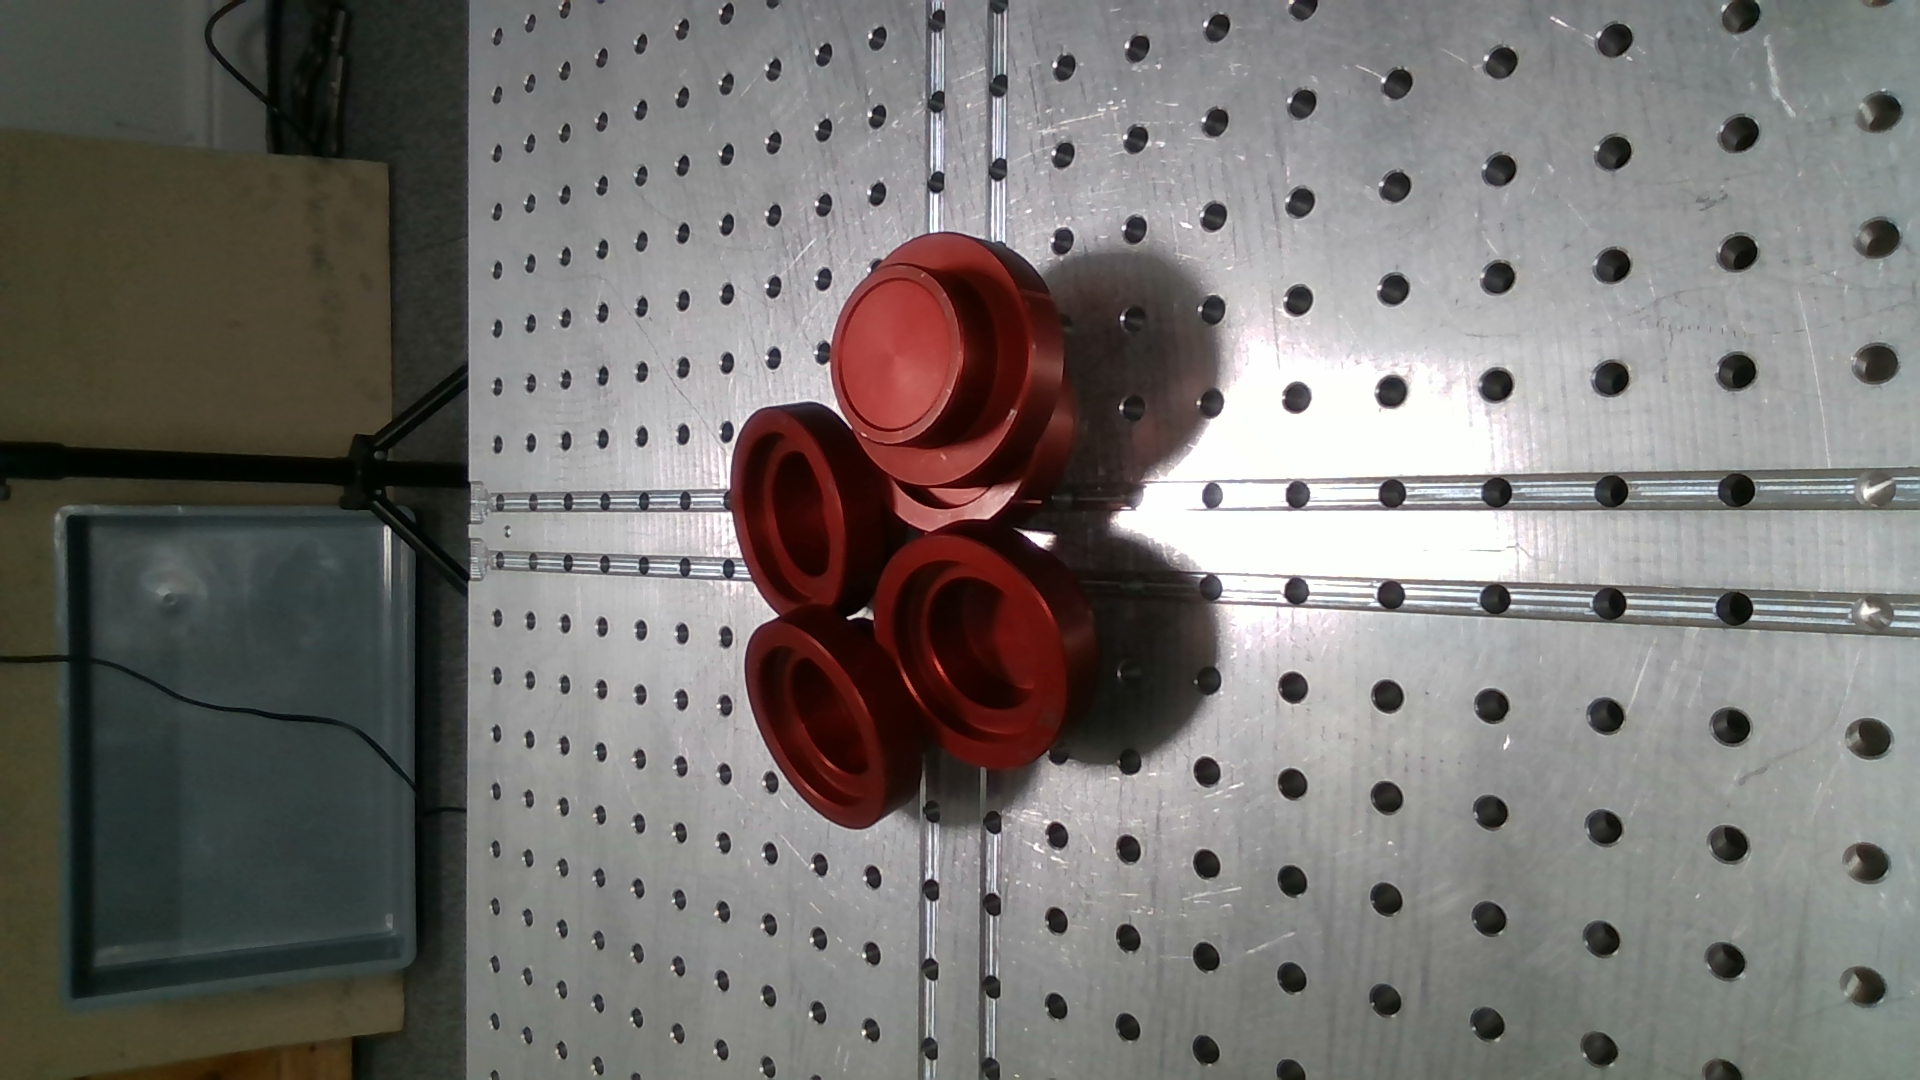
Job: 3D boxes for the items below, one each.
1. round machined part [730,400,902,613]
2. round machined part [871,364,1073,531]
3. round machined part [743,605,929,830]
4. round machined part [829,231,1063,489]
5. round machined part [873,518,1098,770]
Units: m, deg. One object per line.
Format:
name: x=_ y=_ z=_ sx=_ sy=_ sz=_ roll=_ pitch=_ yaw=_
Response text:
round machined part: x=-0.061 y=-0.014 z=0.614 sx=0.098 sy=0.042 sz=0.098 roll=21 pitch=117 yaw=50
round machined part: x=0.007 y=-0.051 z=0.567 sx=0.098 sy=0.042 sz=0.098 roll=0 pitch=91 yaw=40
round machined part: x=-0.049 y=0.073 z=0.601 sx=0.098 sy=0.042 sz=0.098 roll=29 pitch=132 yaw=38
round machined part: x=-0.012 y=-0.069 z=0.528 sx=0.098 sy=0.042 sz=0.098 roll=0 pitch=91 yaw=40
round machined part: x=0.015 y=0.038 z=0.550 sx=0.098 sy=0.042 sz=0.098 roll=17 pitch=117 yaw=36
